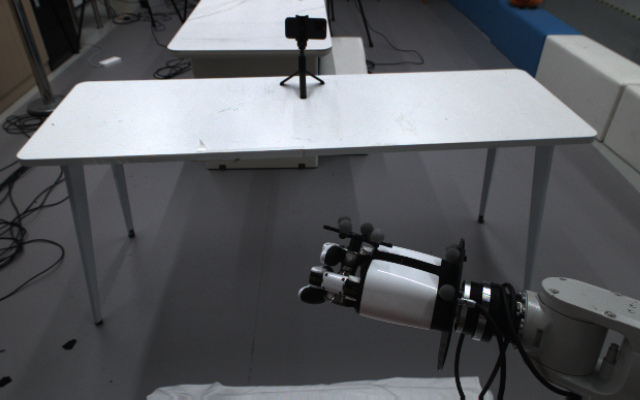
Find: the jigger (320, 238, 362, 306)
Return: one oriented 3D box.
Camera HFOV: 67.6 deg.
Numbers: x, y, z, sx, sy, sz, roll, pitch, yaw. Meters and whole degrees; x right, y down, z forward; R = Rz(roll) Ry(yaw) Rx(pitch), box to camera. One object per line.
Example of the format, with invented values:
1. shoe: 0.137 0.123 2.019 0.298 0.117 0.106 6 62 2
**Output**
1. jigger: 0.035 0.095 0.608 0.043 0.071 0.043 17 2 -1
